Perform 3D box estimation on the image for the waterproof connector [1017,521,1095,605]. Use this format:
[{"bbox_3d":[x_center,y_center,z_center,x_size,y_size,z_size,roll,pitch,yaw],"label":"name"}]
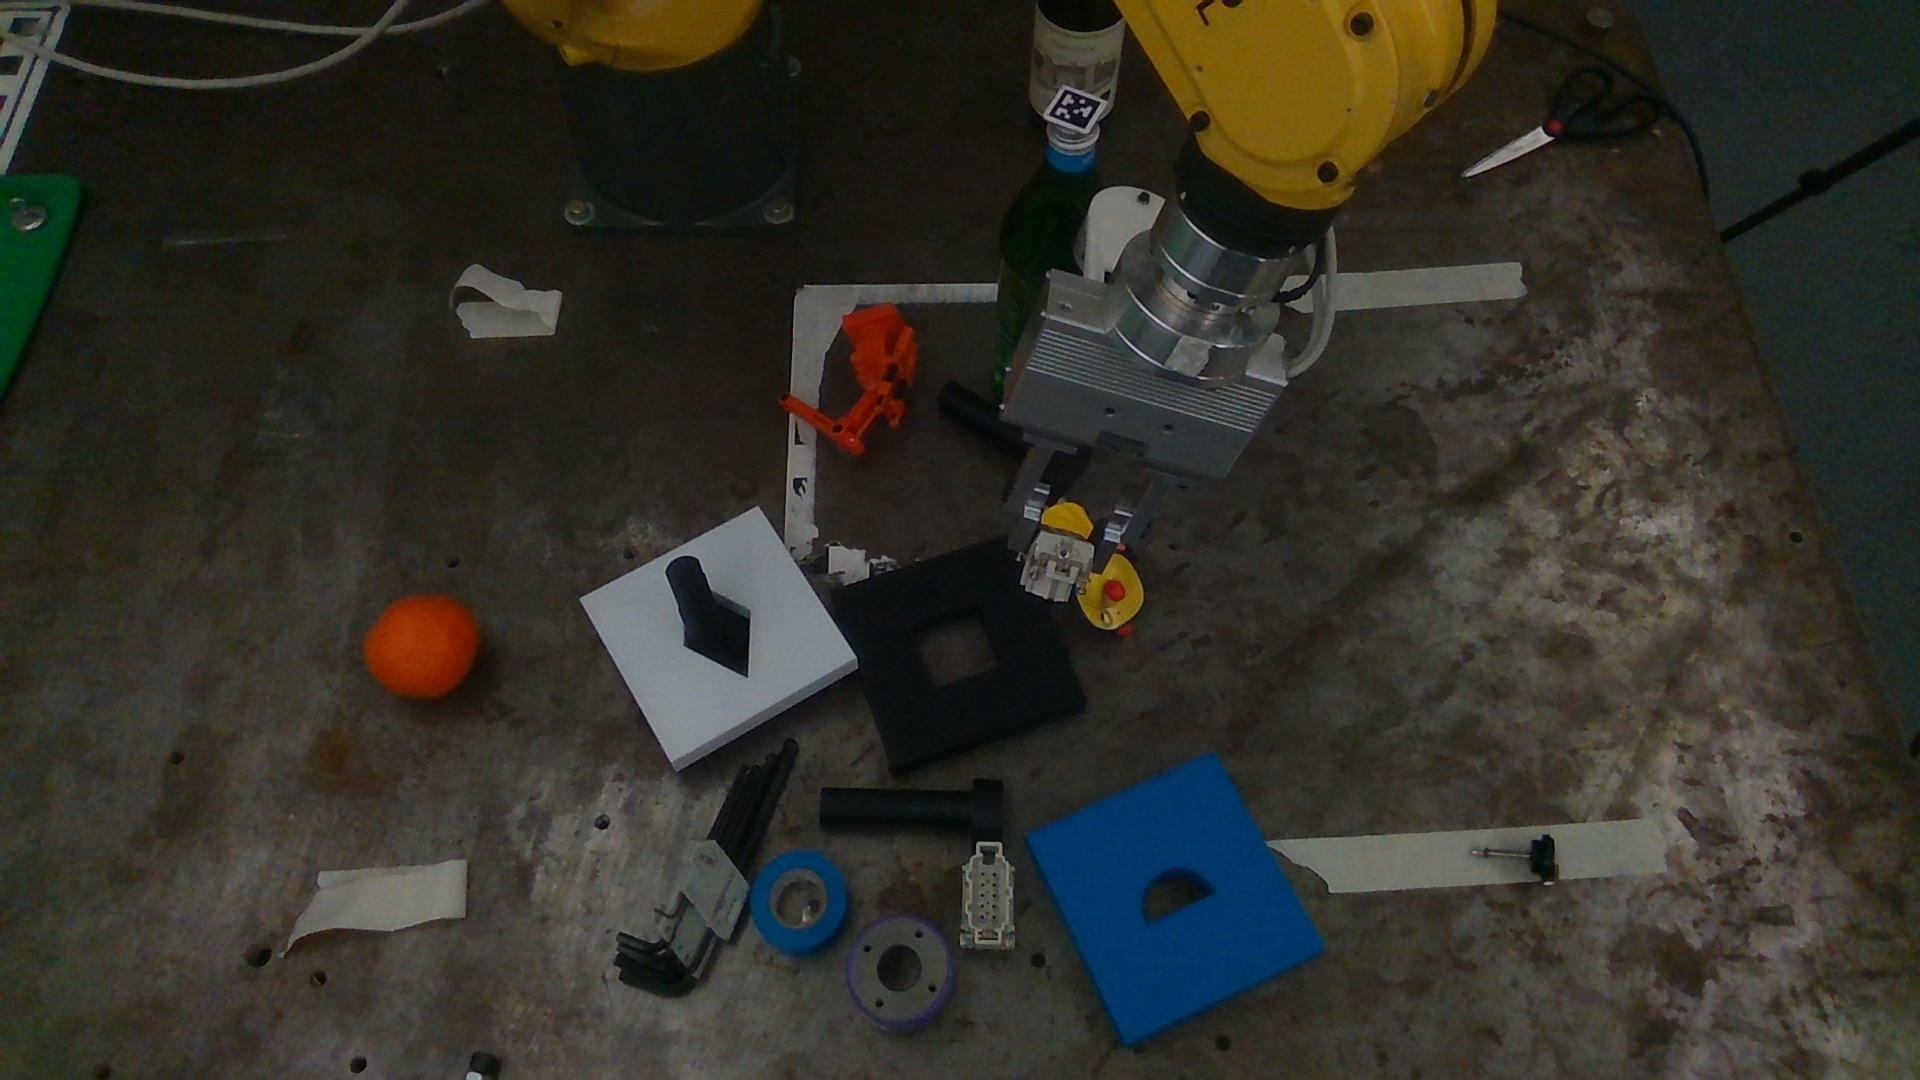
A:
[{"bbox_3d":[0.053,0.013,0.789,0.037,0.069,0.038,13,98,-4],"label":"waterproof connector"}]
